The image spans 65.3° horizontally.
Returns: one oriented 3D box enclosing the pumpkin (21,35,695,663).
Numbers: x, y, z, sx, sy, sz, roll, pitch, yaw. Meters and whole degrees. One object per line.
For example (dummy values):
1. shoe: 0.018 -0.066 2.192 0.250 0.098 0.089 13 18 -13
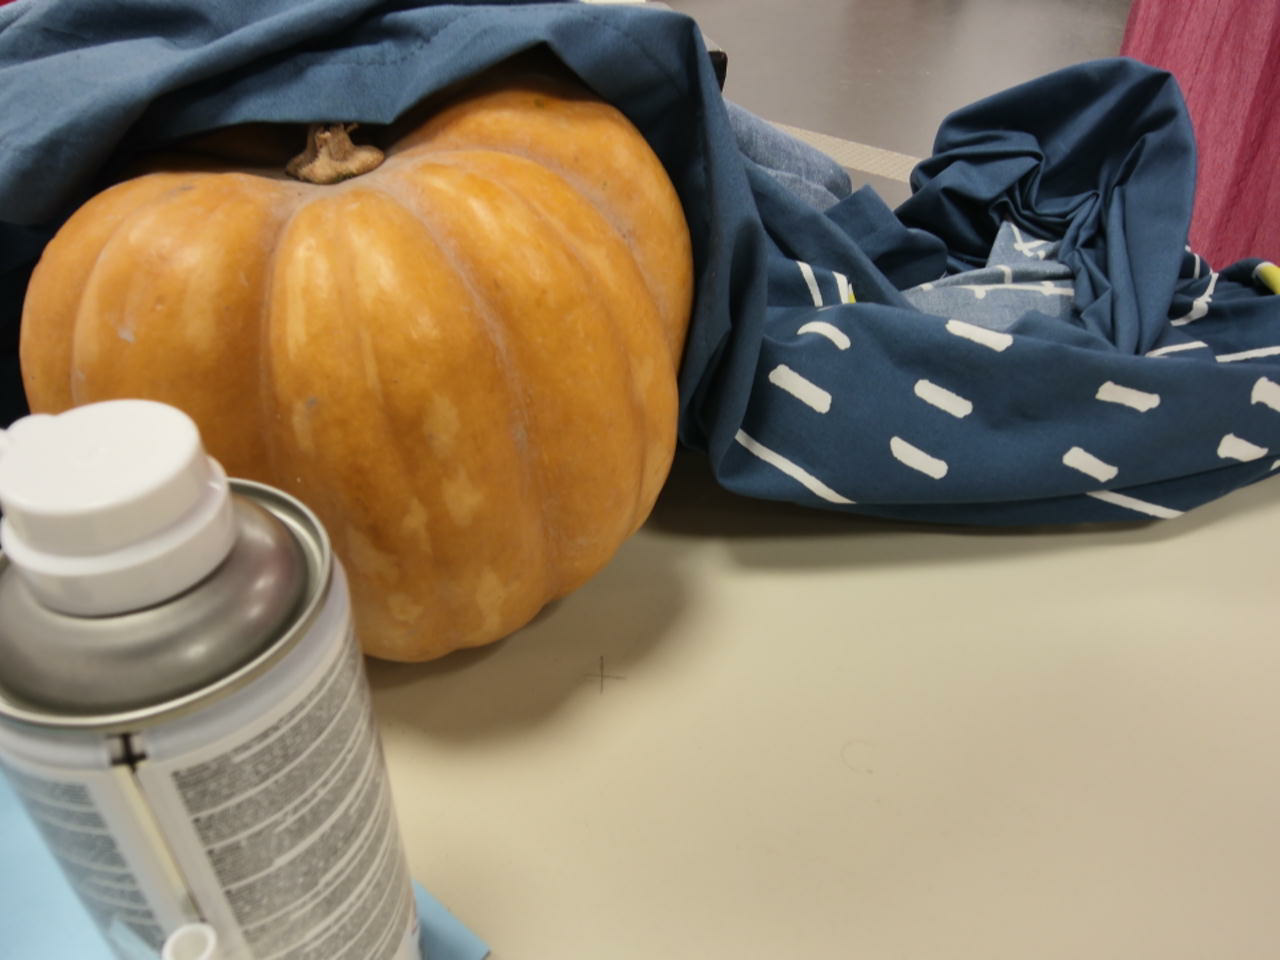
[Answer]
1. pumpkin: -0.089 -0.045 0.360 0.230 0.194 0.230 0 37 0
